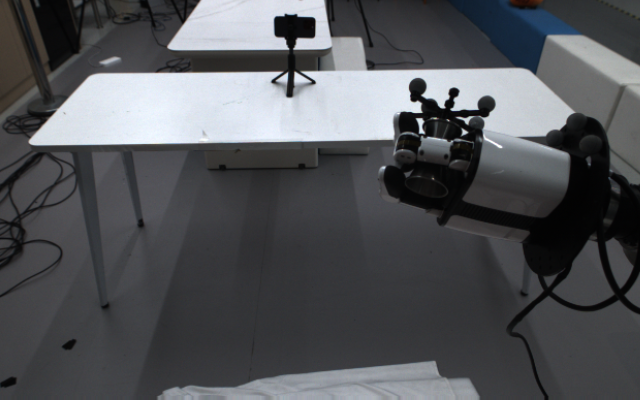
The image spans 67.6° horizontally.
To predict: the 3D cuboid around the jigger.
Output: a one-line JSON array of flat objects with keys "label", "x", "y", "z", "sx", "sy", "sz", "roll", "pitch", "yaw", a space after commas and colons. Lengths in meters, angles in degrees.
[{"label": "jigger", "x": 0.116, "y": -0.042, "z": 0.488, "sx": 0.043, "sy": 0.043, "sz": 0.071, "roll": 13, "pitch": 73, "yaw": 15}]
